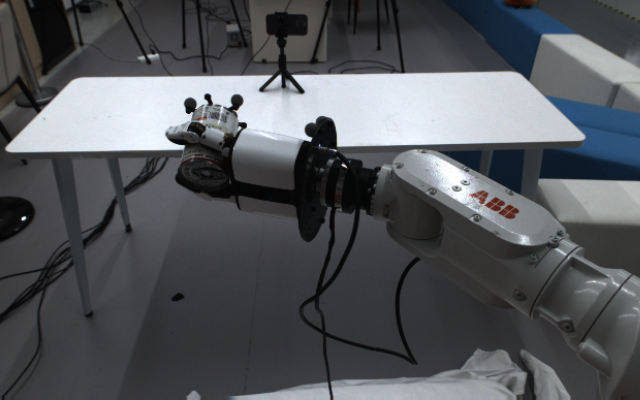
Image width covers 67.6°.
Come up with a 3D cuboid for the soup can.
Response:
[{"bbox_3d":[-0.150,-0.072,0.658,0.067,0.067,0.101,3,57,1],"label":"soup can"}]
